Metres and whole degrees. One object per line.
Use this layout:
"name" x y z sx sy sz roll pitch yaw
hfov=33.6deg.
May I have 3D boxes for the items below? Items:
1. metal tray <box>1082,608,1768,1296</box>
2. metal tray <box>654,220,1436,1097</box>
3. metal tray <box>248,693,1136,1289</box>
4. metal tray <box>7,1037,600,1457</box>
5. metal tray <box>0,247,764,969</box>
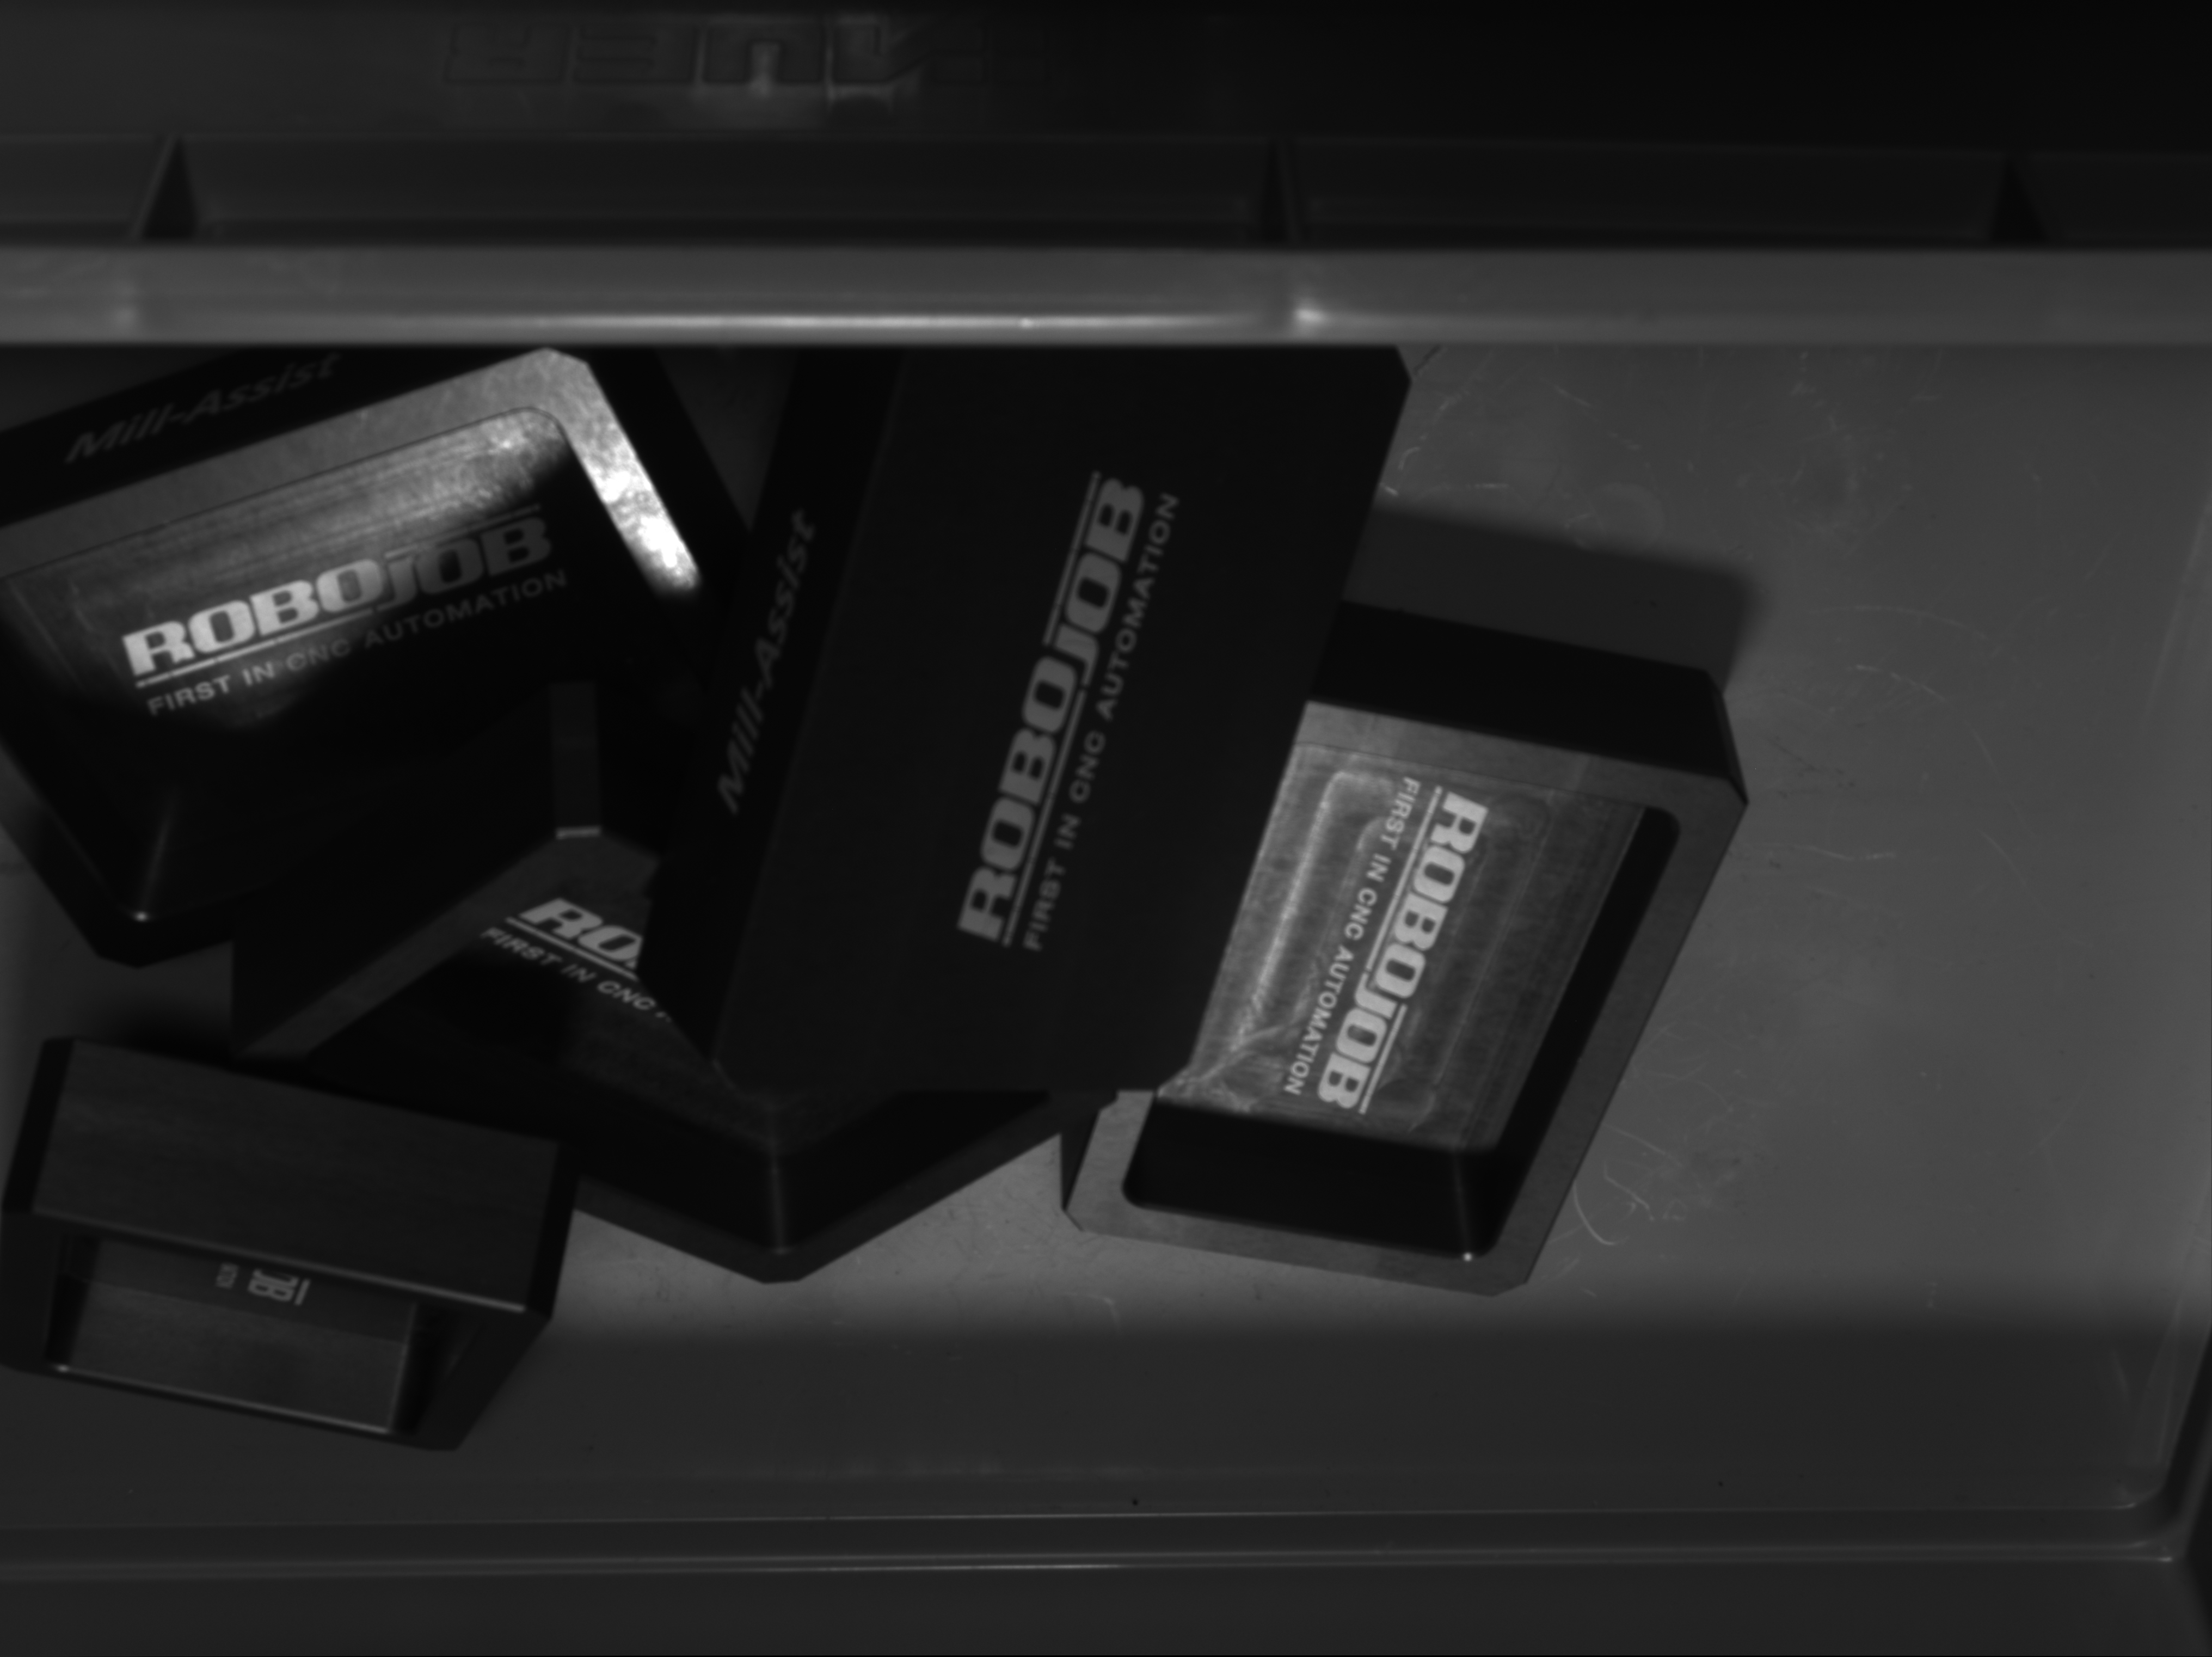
"metal tray" 0.053 0.024 0.655 0.090 0.030 0.130 10 129 -10
"metal tray" -0.010 -0.022 0.570 0.090 0.030 0.130 4 114 -35
"metal tray" -0.069 0.032 0.630 0.090 0.030 0.130 -31 139 30
"metal tray" -0.147 0.078 0.656 0.090 0.030 0.130 14 157 -12
"metal tray" -0.123 -0.033 0.601 0.130 0.030 0.090 -16 129 11
